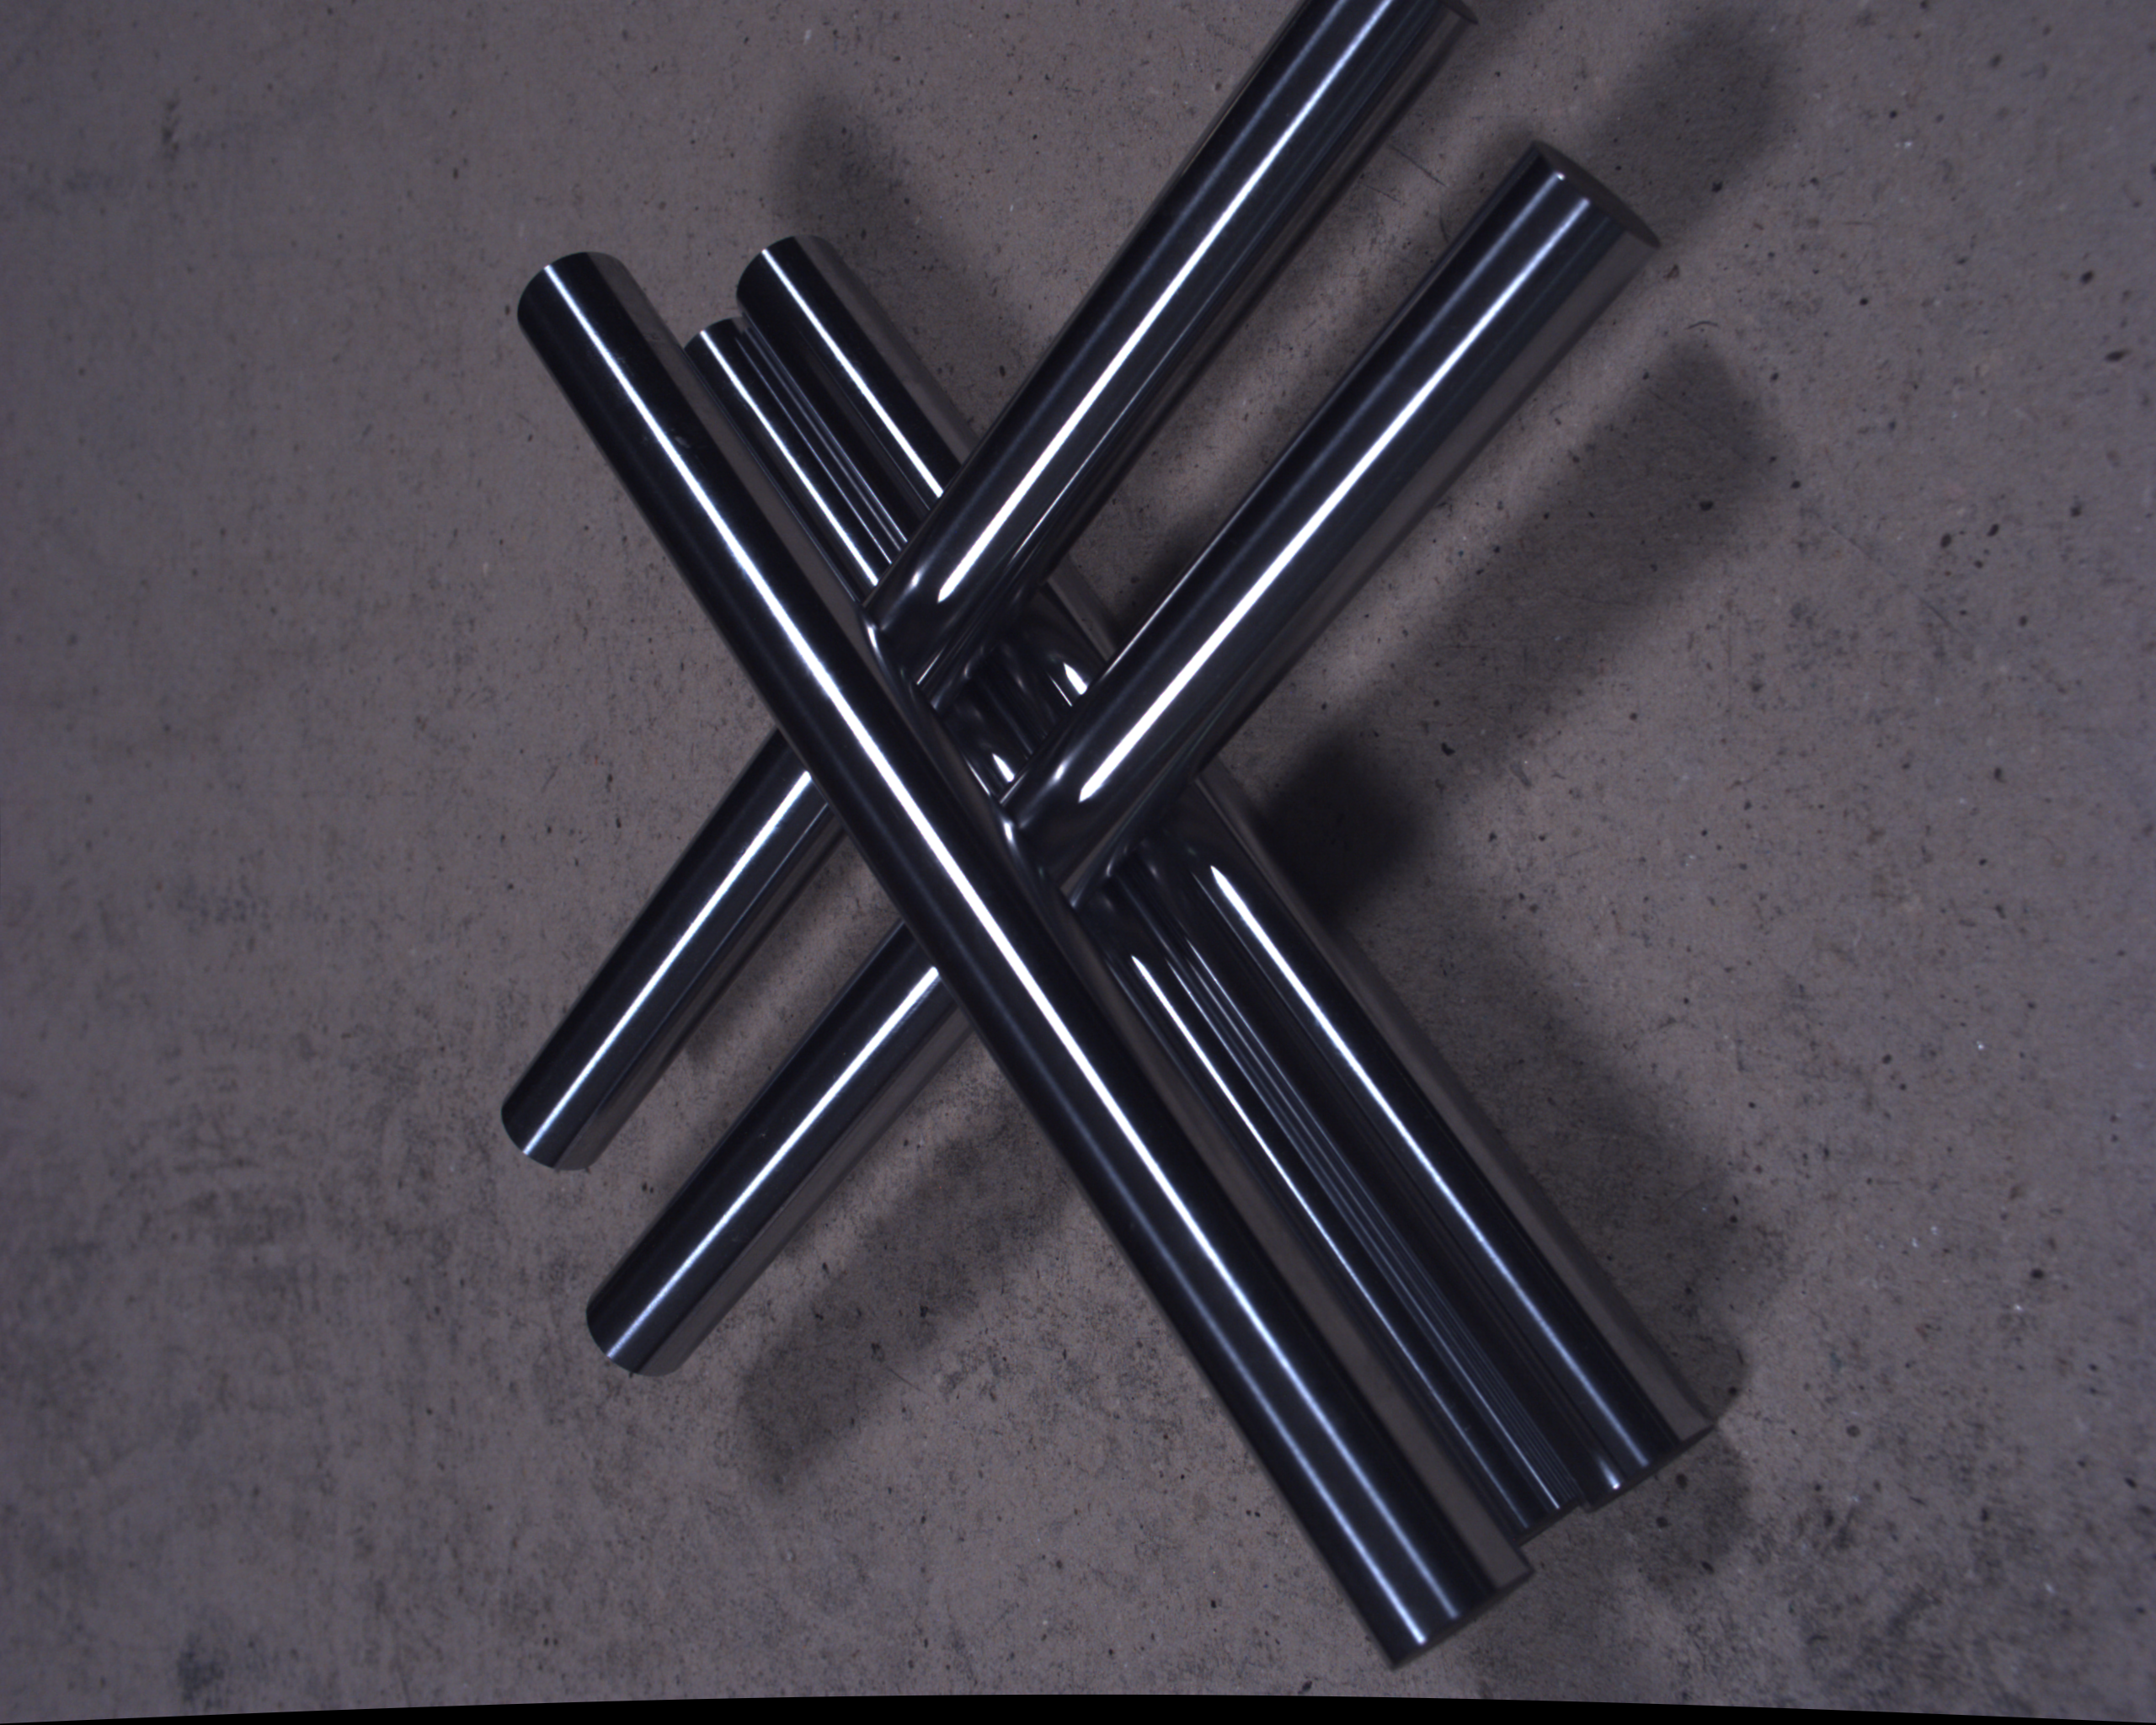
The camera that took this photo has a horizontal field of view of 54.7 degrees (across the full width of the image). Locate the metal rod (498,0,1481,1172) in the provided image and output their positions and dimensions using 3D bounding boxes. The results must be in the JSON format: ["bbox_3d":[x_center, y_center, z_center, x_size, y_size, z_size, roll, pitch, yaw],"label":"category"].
[{"bbox_3d":[-0.032,-0.040,0.398,0.299,0.025,0.025,-49,61,28],"label":"metal rod"}]

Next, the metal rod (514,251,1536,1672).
[{"bbox_3d":[-0.024,-0.003,0.359,0.025,0.025,0.299,-50,61,28],"label":"metal rod"}]

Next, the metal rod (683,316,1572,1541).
[{"bbox_3d":[-0.002,-0.001,0.406,0.025,0.025,0.299,-49,61,28],"label":"metal rod"}]

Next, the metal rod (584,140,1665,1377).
[{"bbox_3d":[-0.009,0.001,0.379,0.299,0.025,0.025,-49,61,28],"label":"metal rod"}]

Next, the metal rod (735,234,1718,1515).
[{"bbox_3d":[0.014,-0.015,0.393,0.025,0.025,0.299,-49,61,28],"label":"metal rod"}]
